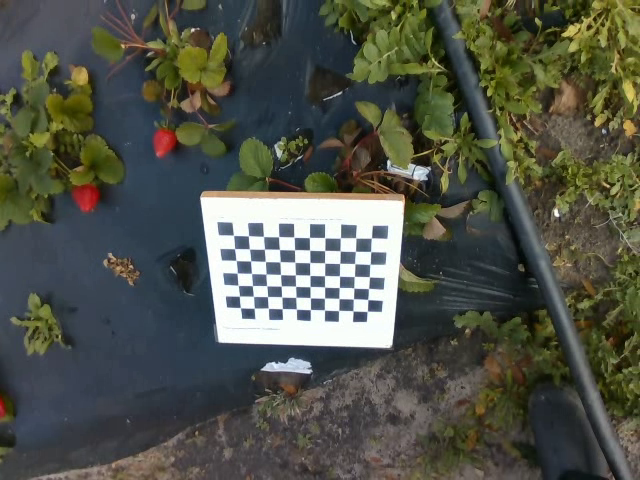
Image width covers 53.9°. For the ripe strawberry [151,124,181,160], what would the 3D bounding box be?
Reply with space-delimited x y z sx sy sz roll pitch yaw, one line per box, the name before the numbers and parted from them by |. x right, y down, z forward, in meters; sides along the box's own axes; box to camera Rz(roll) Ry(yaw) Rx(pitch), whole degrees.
ripe strawberry | -0.233 -0.141 0.918 0.044 0.052 0.041 17 -14 -17

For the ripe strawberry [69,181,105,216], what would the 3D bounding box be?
ripe strawberry | -0.363 -0.062 0.960 0.050 0.050 0.046 -2 -39 -5
